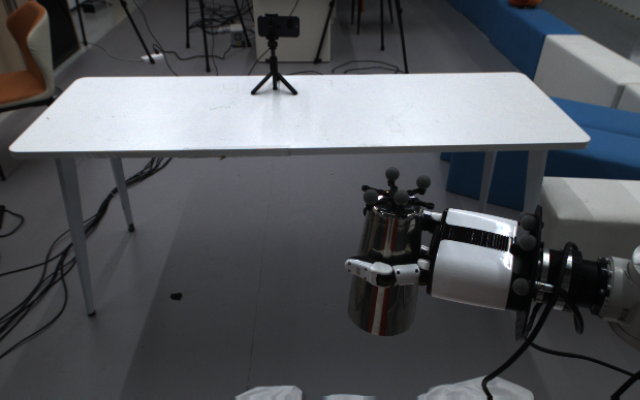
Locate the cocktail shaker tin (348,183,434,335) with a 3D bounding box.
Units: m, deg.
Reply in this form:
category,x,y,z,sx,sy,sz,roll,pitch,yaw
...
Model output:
category,x,y,z,sx,sy,sz,roll,pitch,yaw
cocktail shaker tin,0.090,0.077,0.616,0.093,0.170,0.093,2,30,-1
